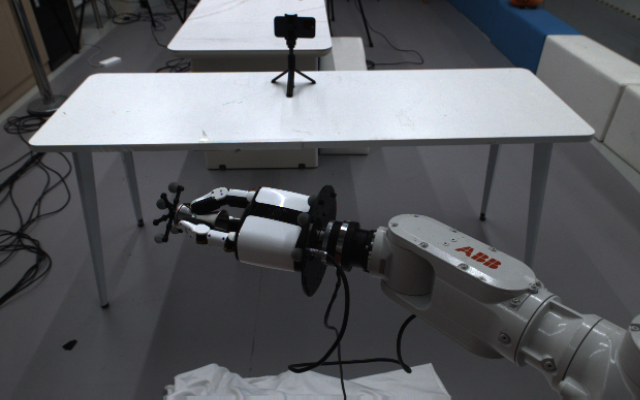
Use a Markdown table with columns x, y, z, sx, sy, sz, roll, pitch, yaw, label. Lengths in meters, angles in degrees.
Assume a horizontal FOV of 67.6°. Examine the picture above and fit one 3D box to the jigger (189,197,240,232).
| x | y | z | sx | sy | sz | roll | pitch | yaw | label |
| --- | --- | --- | --- | --- | --- | --- | --- | --- | --- |
| -0.172 | 0.028 | 0.725 | 0.071 | 0.043 | 0.043 | 10 | 35 | 16 | jigger |
